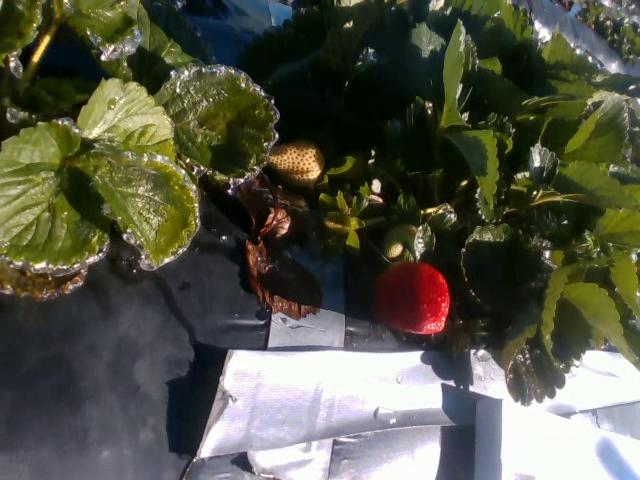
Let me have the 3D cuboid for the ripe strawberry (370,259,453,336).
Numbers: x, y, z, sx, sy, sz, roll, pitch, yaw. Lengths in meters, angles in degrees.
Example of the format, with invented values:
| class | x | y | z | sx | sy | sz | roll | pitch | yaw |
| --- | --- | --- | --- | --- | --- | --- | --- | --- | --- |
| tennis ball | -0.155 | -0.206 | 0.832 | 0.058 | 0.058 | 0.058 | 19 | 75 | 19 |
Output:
| class | x | y | z | sx | sy | sz | roll | pitch | yaw |
| --- | --- | --- | --- | --- | --- | --- | --- | --- | --- |
| ripe strawberry | 0.064 | 0.045 | 0.381 | 0.057 | 0.062 | 0.065 | -33 | 19 | 5 |
